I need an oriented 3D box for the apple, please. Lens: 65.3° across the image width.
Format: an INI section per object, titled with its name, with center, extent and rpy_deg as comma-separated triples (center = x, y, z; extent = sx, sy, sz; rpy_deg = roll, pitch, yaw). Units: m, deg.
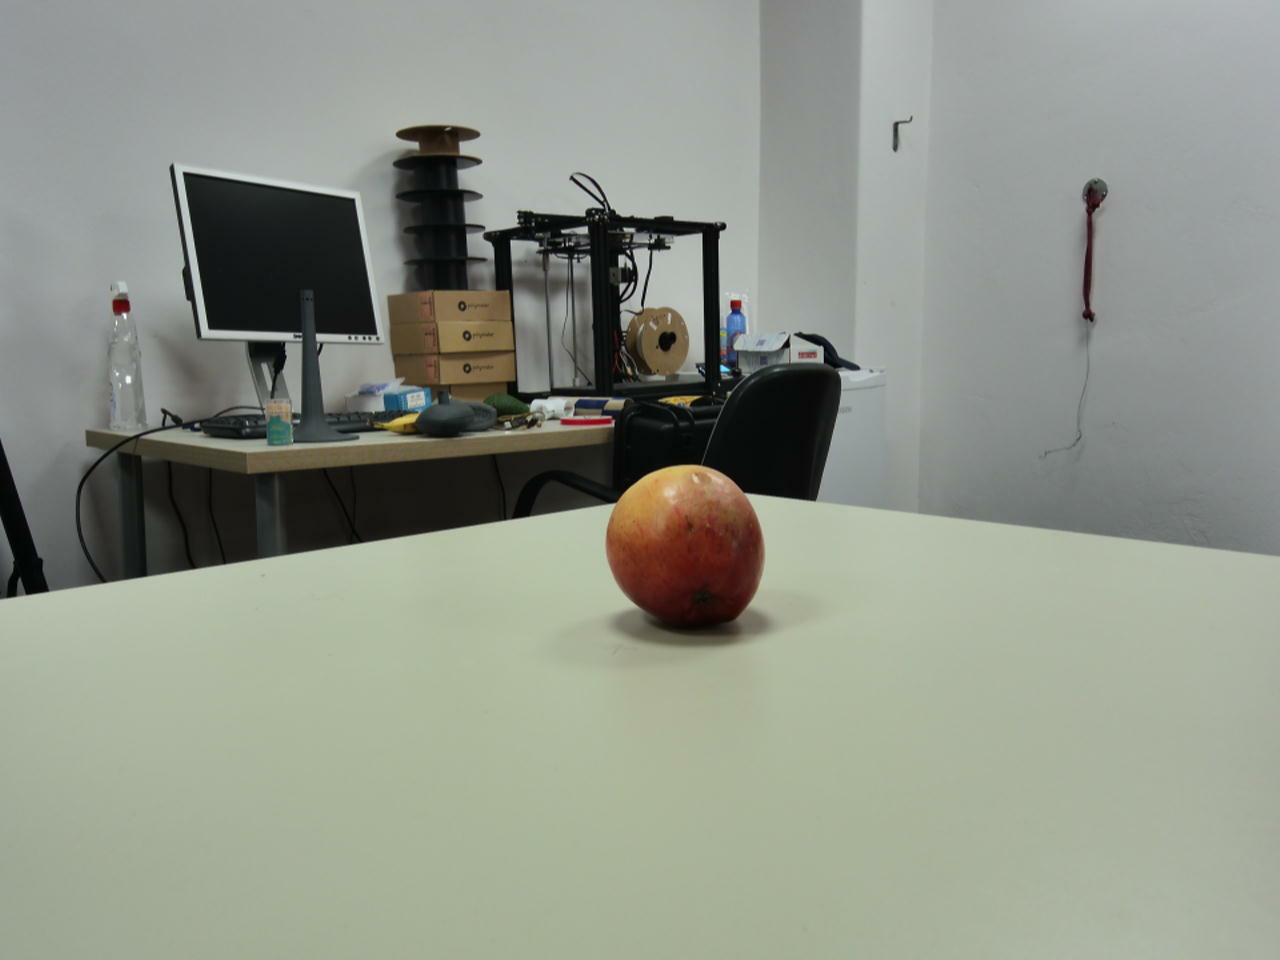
[apple]
center = 0.025, 0.034, 0.549
extent = 0.086, 0.084, 0.093
rpy_deg = 2, 5, 12
